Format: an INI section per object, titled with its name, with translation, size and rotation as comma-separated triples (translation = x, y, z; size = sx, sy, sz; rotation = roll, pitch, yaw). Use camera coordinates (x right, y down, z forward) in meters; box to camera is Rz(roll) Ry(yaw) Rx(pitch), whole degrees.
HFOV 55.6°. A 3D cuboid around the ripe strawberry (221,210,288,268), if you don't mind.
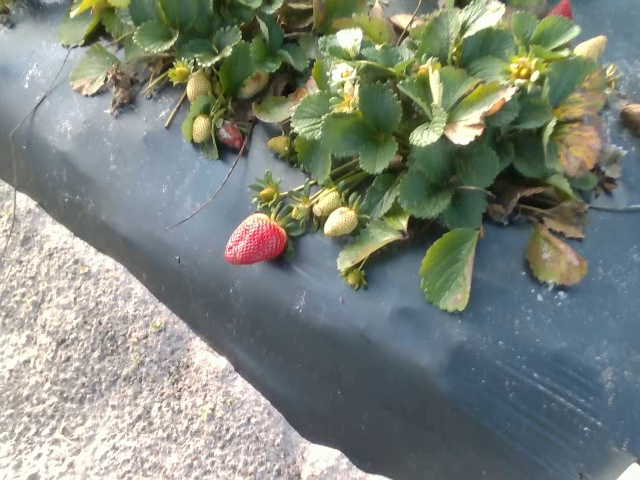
[ripe strawberry]
translation = -0.070, 0.002, 0.622
size = 0.052, 0.068, 0.044
rotation = 35, -28, 20
